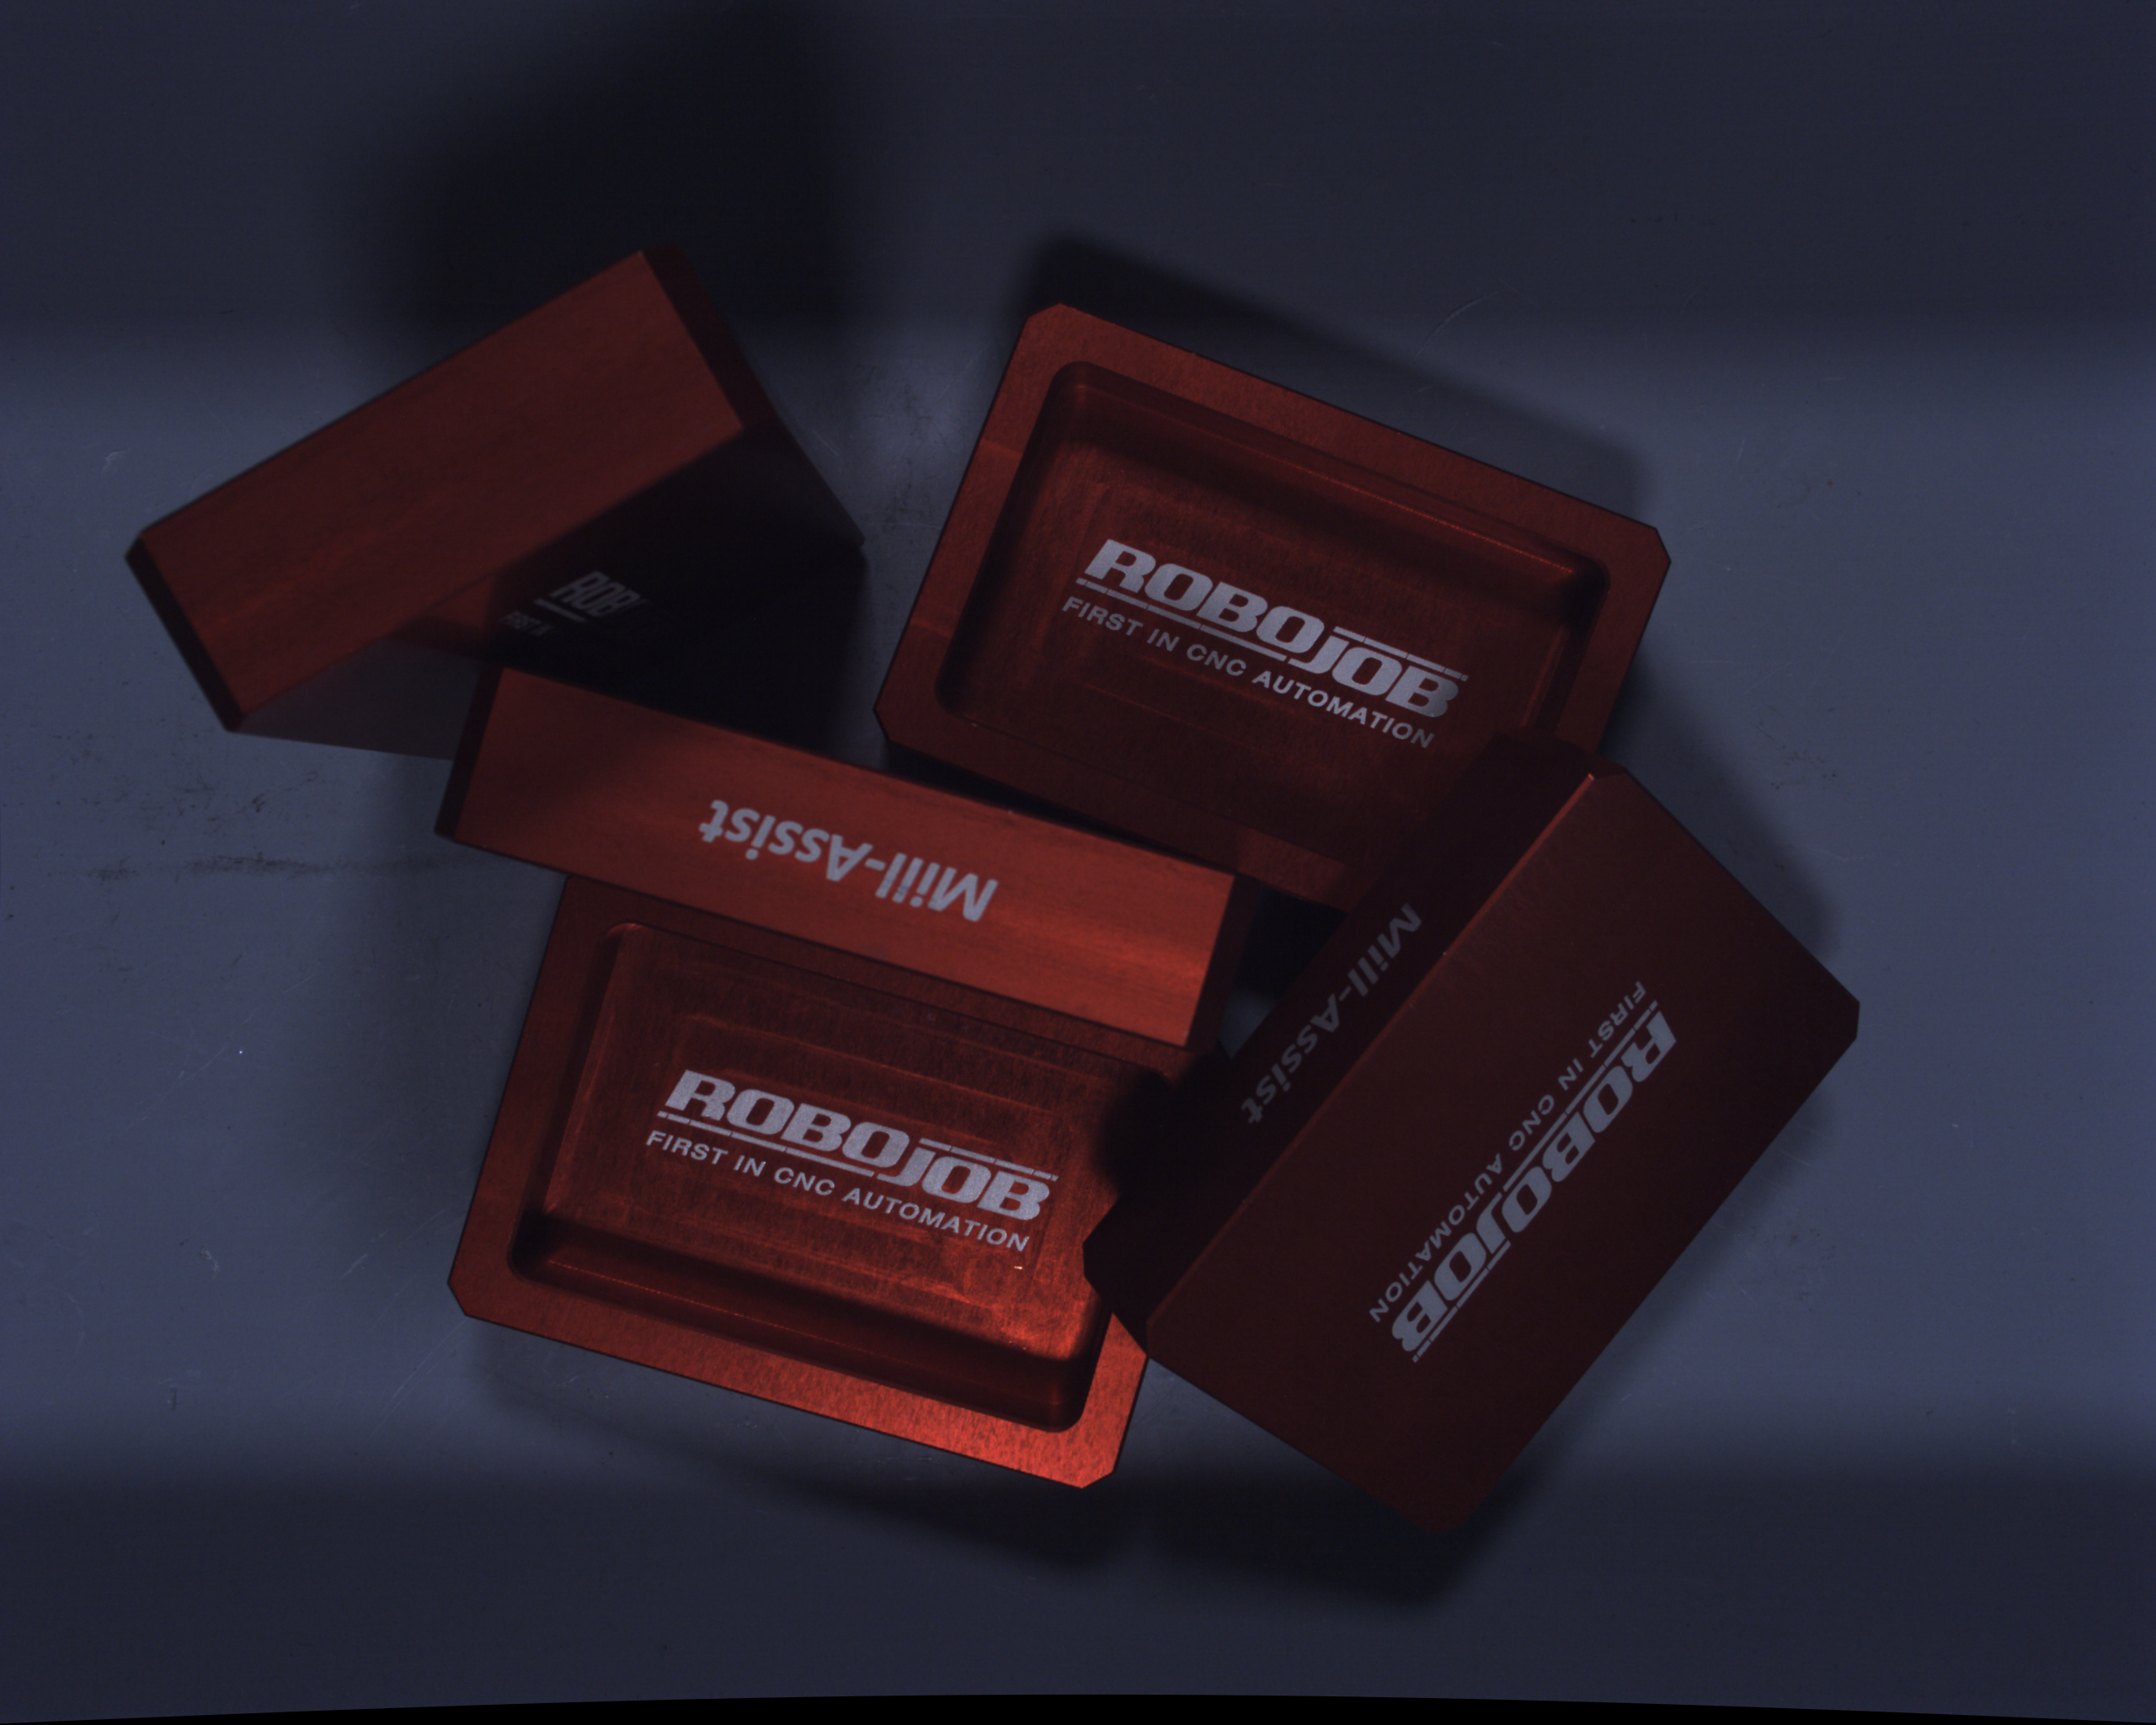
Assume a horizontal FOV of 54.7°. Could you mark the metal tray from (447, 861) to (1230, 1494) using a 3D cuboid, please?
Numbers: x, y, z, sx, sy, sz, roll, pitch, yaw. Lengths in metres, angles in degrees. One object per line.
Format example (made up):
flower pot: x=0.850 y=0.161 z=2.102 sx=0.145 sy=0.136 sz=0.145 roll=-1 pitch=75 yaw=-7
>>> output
metal tray: x=-0.044 y=0.059 z=0.405 sx=0.131 sy=0.030 sz=0.090 roll=16 pitch=90 yaw=-1

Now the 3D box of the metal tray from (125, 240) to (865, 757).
metal tray: x=-0.088 y=-0.054 z=0.355 sx=0.090 sy=0.130 sz=0.030 roll=-30 pitch=91 yaw=0

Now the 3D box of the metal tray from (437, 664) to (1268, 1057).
metal tray: x=-0.036 y=-0.001 z=0.376 sx=0.131 sy=0.090 sz=0.030 roll=16 pitch=90 yaw=-1

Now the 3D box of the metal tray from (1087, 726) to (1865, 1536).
metal tray: x=0.076 y=0.051 z=0.389 sx=0.090 sy=0.030 sz=0.130 roll=39 pitch=90 yaw=-29

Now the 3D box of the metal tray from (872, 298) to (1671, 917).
metal tray: x=0.037 y=-0.043 z=0.408 sx=0.131 sy=0.030 sz=0.090 roll=21 pitch=90 yaw=-1
